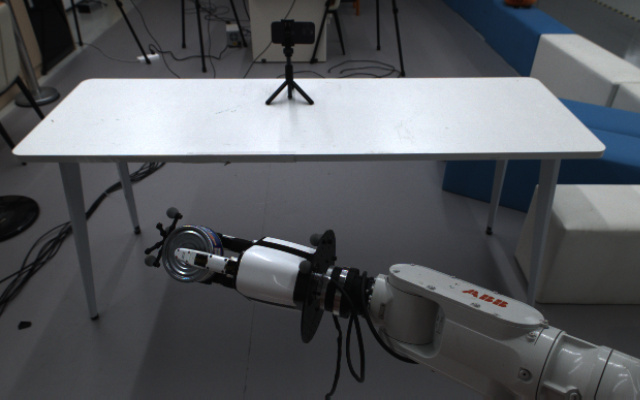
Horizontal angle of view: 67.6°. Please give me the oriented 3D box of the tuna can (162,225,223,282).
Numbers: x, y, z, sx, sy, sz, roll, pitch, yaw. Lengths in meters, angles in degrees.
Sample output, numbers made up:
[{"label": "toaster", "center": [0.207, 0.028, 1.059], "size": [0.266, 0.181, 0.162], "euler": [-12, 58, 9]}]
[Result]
[{"label": "tuna can", "center": [-0.187, 0.079, 0.715], "size": [0.085, 0.085, 0.034], "euler": [12, -3, 15]}]
